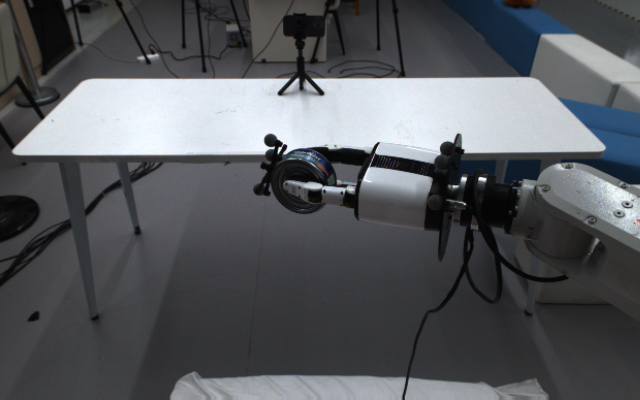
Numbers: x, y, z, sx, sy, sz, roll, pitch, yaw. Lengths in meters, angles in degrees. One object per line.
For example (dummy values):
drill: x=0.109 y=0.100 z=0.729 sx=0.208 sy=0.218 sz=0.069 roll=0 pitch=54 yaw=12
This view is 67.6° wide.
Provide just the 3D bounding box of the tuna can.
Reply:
tuna can: x=-0.020 y=-0.023 z=0.652 sx=0.085 sy=0.085 sz=0.034 roll=12 pitch=30 yaw=14
